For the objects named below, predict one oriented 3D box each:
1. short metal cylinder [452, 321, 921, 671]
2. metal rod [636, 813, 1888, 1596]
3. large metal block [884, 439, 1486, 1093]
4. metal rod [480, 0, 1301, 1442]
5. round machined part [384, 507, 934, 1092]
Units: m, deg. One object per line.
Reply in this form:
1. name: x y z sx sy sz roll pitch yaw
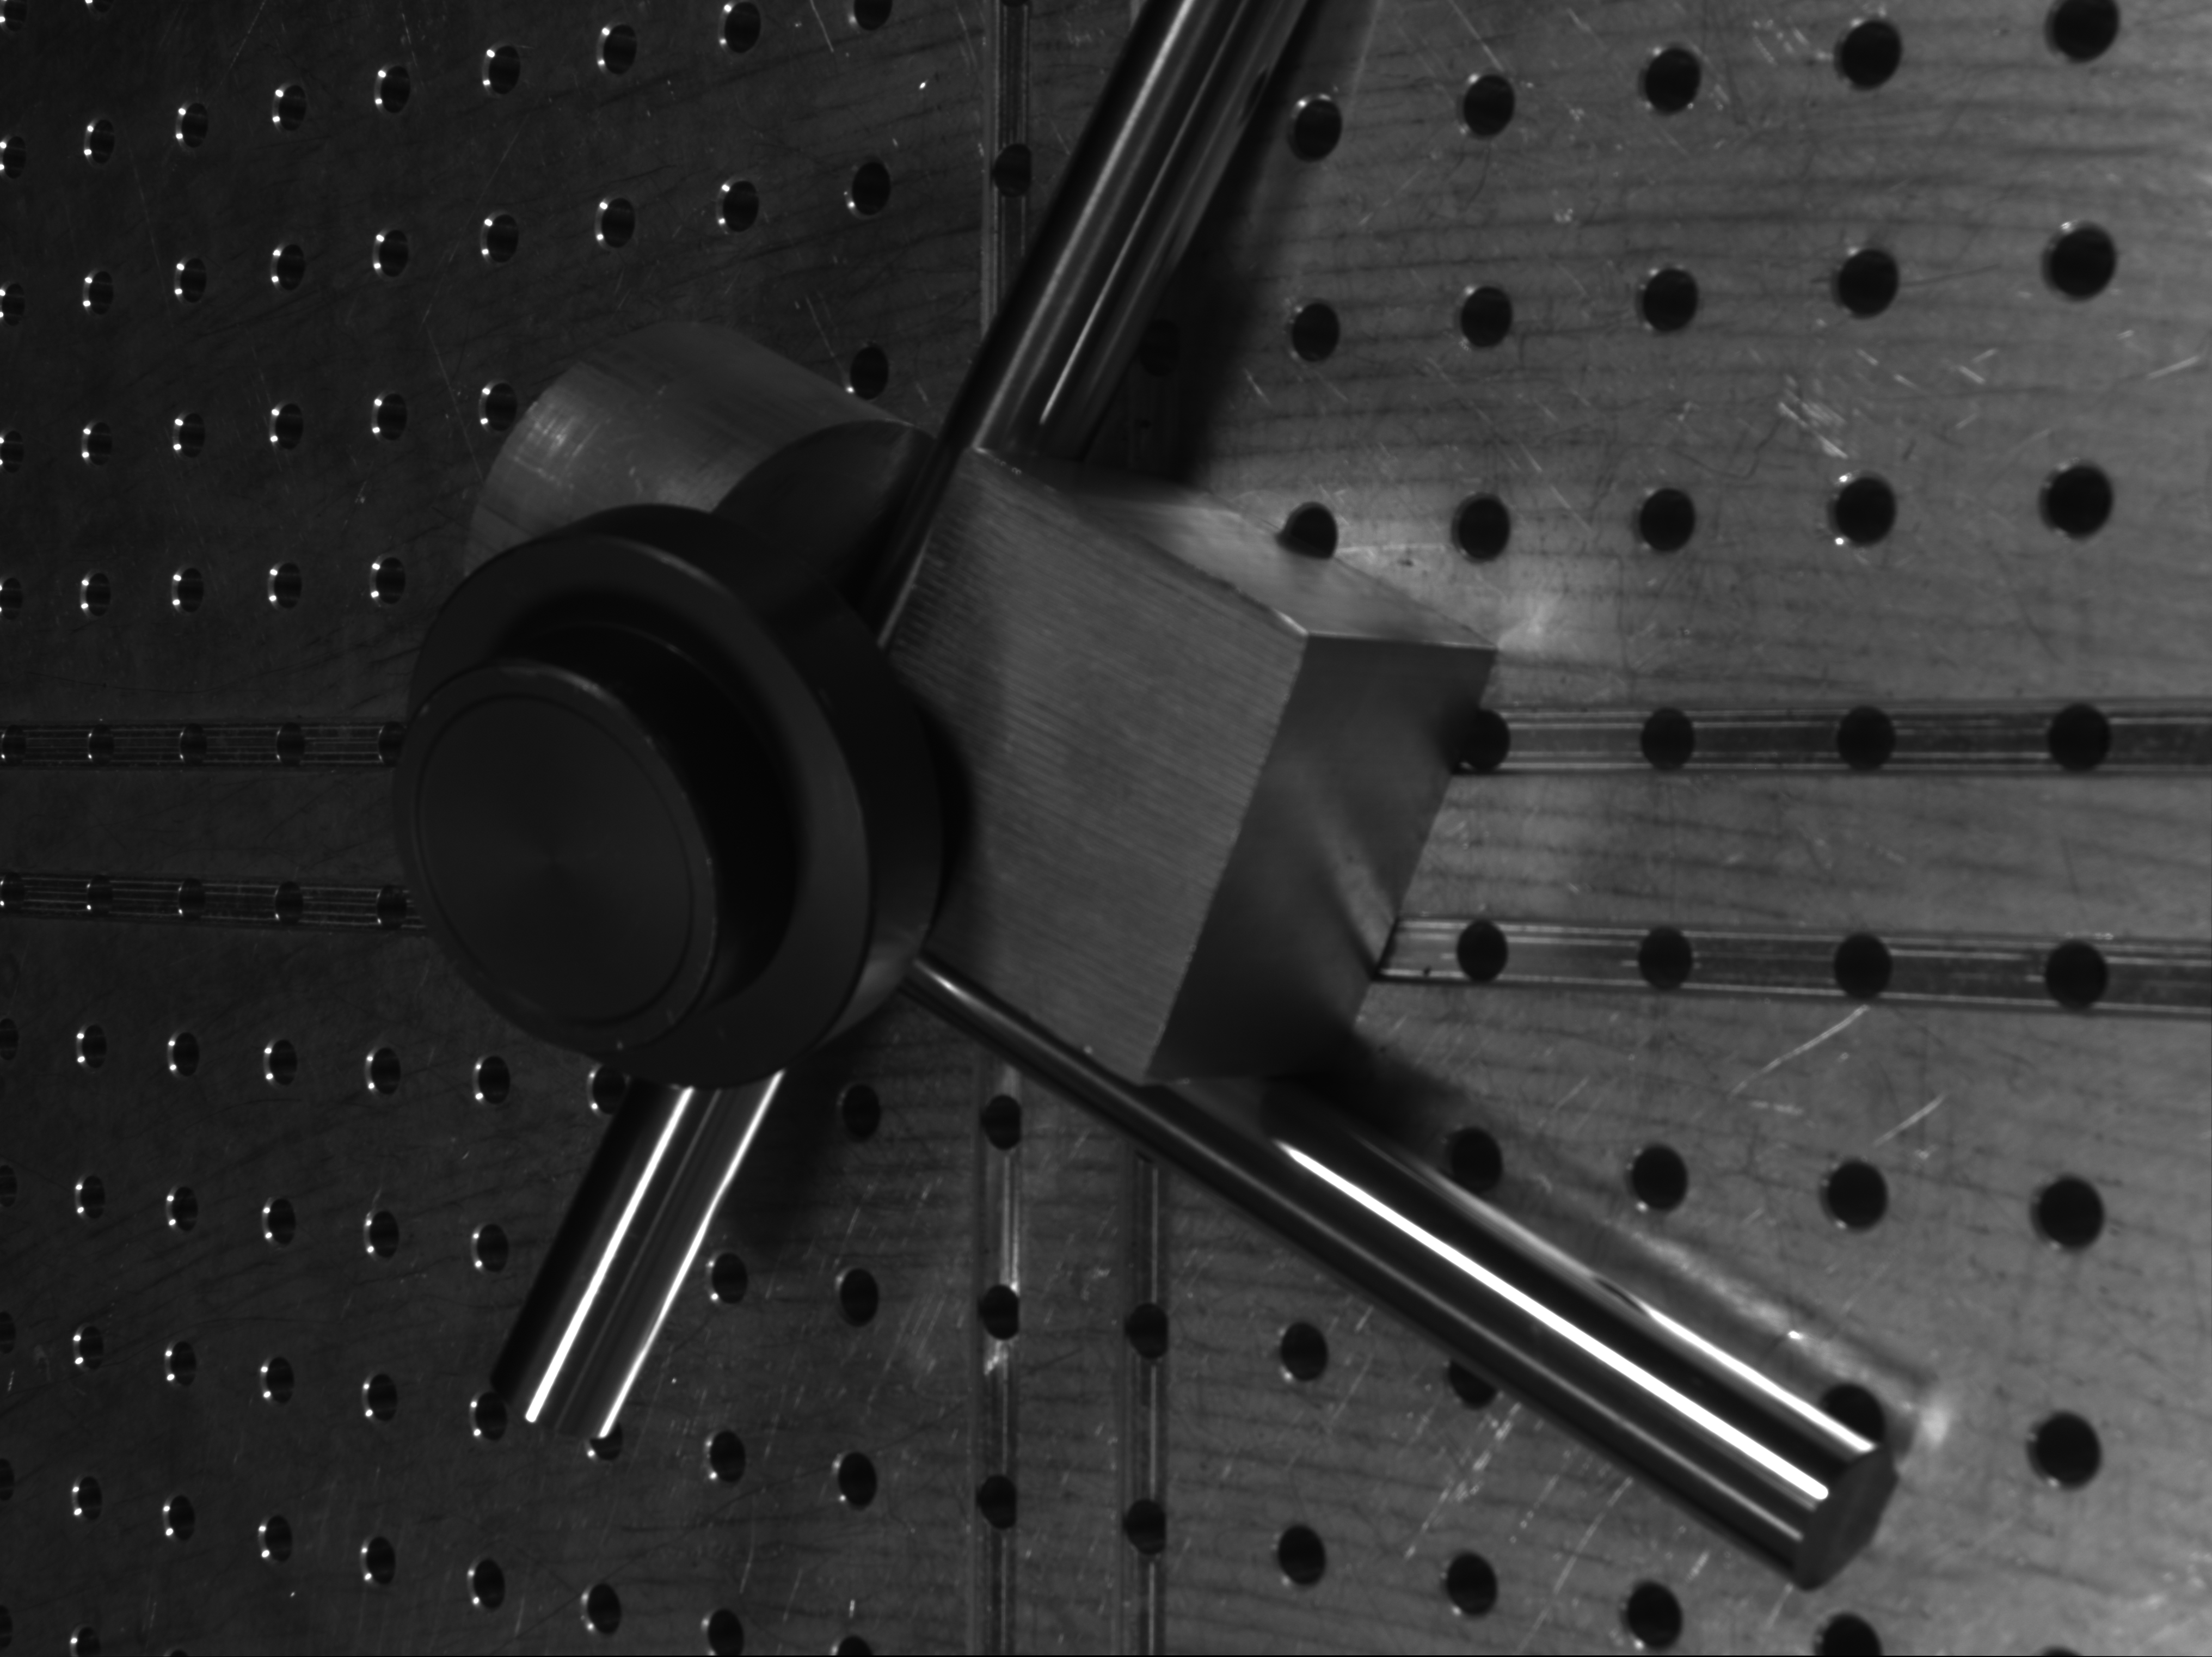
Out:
1. short metal cylinder: -0.070 -0.045 0.661 0.050 0.080 0.080 31 109 35
2. metal rod: 0.005 0.042 0.635 0.299 0.025 0.025 31 109 35
3. large metal block: 0.005 -0.011 0.614 0.080 0.050 0.080 32 109 35
4. metal rod: -0.038 -0.026 0.645 0.025 0.025 0.300 34 103 34
5. round machined part: -0.081 -0.001 0.610 0.098 0.042 0.098 13 116 28
